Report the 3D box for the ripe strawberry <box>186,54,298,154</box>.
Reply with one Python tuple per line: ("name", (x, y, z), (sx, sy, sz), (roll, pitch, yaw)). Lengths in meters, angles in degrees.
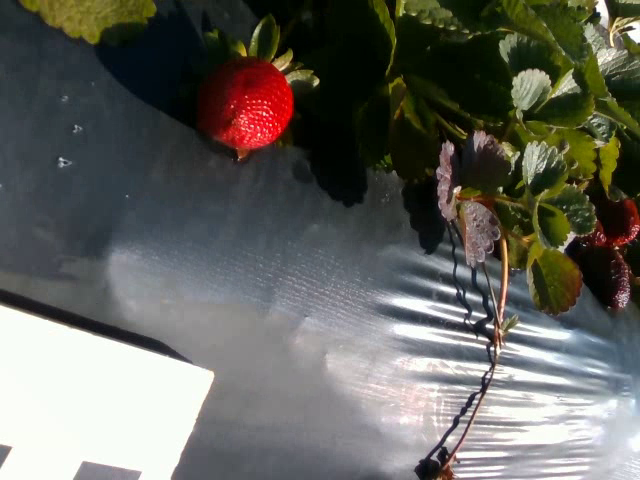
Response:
("ripe strawberry", (-0.031, -0.048, 0.240), (0.043, 0.043, 0.050), (-20, 22, 15))
